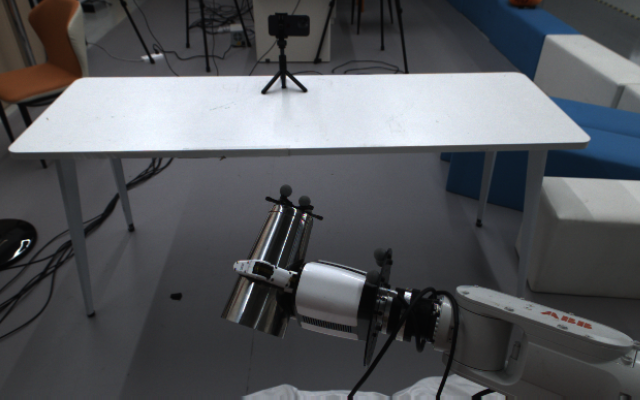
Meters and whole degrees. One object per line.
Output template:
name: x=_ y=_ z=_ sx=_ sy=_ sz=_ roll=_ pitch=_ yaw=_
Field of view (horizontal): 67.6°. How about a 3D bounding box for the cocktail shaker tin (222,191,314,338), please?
cocktail shaker tin: x=-0.067 y=0.098 z=0.679 sx=0.093 sy=0.093 sz=0.170 roll=14 pitch=73 yaw=17
